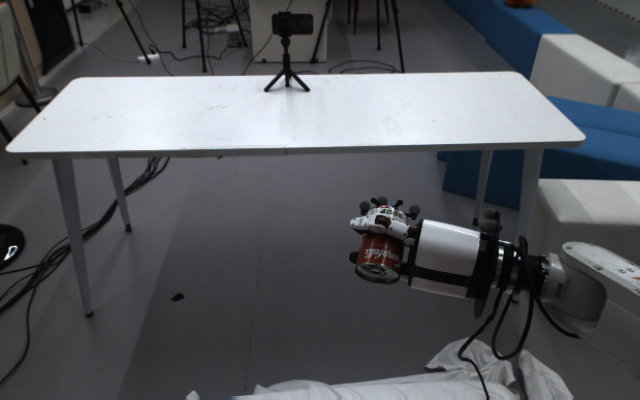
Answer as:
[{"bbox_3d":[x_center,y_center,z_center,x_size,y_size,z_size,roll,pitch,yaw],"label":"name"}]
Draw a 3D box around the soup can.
[{"bbox_3d":[0.096,0.066,0.733,0.067,0.067,0.101,9,58,10],"label":"soup can"}]
